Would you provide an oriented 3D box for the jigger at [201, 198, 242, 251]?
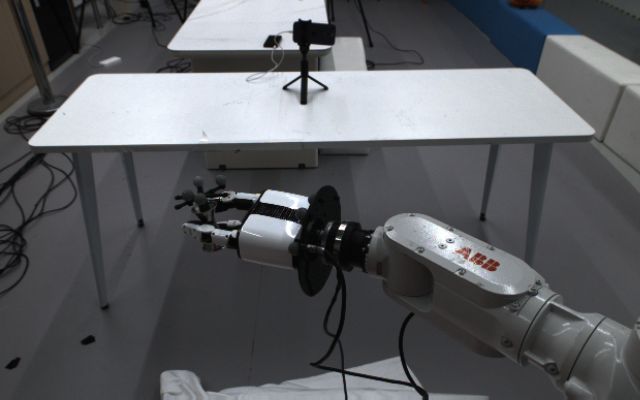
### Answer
[{"bbox_3d":[-0.167,0.038,0.749,0.043,0.071,0.043,-10,24,5],"label":"jigger"}]
